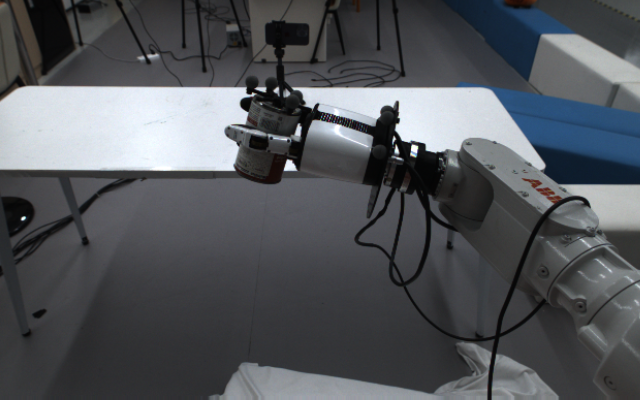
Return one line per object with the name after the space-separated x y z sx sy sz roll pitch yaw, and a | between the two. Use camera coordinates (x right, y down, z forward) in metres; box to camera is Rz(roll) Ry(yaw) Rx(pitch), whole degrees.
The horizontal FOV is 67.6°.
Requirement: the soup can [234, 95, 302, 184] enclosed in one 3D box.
-0.070 -0.080 0.646 0.067 0.101 0.067 17 21 -7 | soup can
